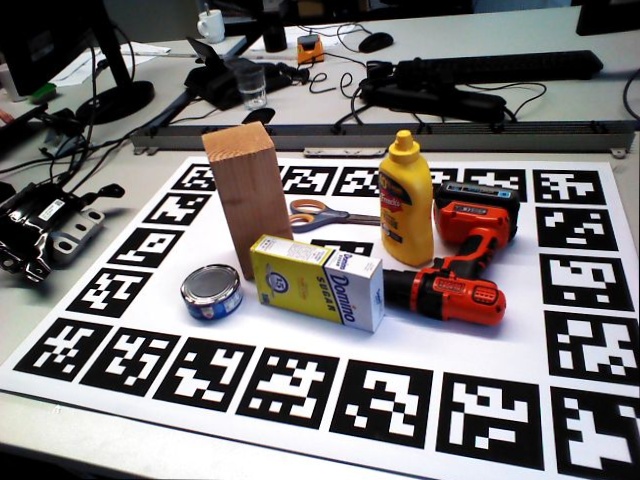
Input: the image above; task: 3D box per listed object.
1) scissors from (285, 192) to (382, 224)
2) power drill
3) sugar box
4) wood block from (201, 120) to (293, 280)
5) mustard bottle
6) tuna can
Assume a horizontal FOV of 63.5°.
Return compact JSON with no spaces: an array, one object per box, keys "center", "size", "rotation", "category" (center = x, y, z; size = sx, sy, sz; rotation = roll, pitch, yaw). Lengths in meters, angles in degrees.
[{"center":[0.020,-0.050,0.853],"size":[0.204,0.016,0.087],"rotation":[4,37,19],"category":"scissors"},{"center":[0.166,0.015,0.703],"size":[0.185,0.057,0.185],"rotation":[12,52,28],"category":"power drill"},{"center":[0.005,0.052,0.674],"size":[0.177,0.093,0.045],"rotation":[13,41,25],"category":"sugar box"},{"center":[-0.096,-0.055,0.753],"size":[0.091,0.207,0.089],"rotation":[-16,40,-5],"category":"wood block"},{"center":[0.125,-0.065,0.717],"size":[0.058,0.192,0.096],"rotation":[-24,41,-13],"category":"mustard bottle"},{"center":[-0.152,0.068,0.734],"size":[0.086,0.034,0.085],"rotation":[-7,40,6],"category":"tuna can"}]
